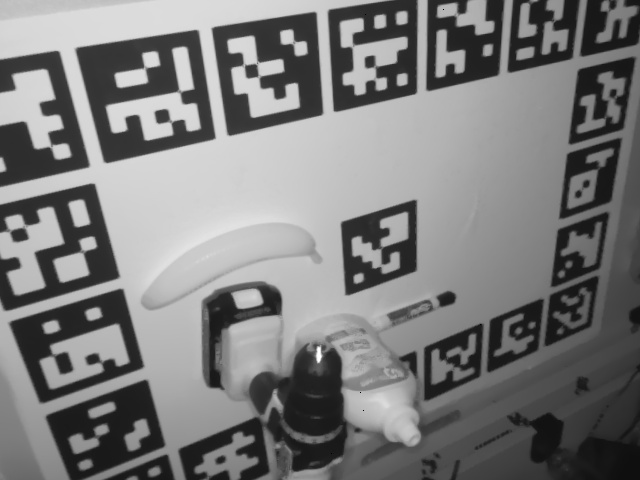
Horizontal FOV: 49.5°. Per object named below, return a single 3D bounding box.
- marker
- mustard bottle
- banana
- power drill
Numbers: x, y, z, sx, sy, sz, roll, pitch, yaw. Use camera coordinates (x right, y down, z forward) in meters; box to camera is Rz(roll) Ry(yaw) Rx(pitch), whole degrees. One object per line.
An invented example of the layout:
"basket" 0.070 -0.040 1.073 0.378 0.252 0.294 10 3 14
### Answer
"marker" 0.147 0.098 0.889 0.122 0.019 0.019 -13 117 -22
"mustard bottle" 0.065 0.154 0.769 0.097 0.190 0.058 -4 115 -24
"banana" -0.065 0.011 0.733 0.200 0.038 0.073 -8 114 -26
"power drill" -0.030 0.128 0.689 0.058 0.186 0.183 -1 115 -24
